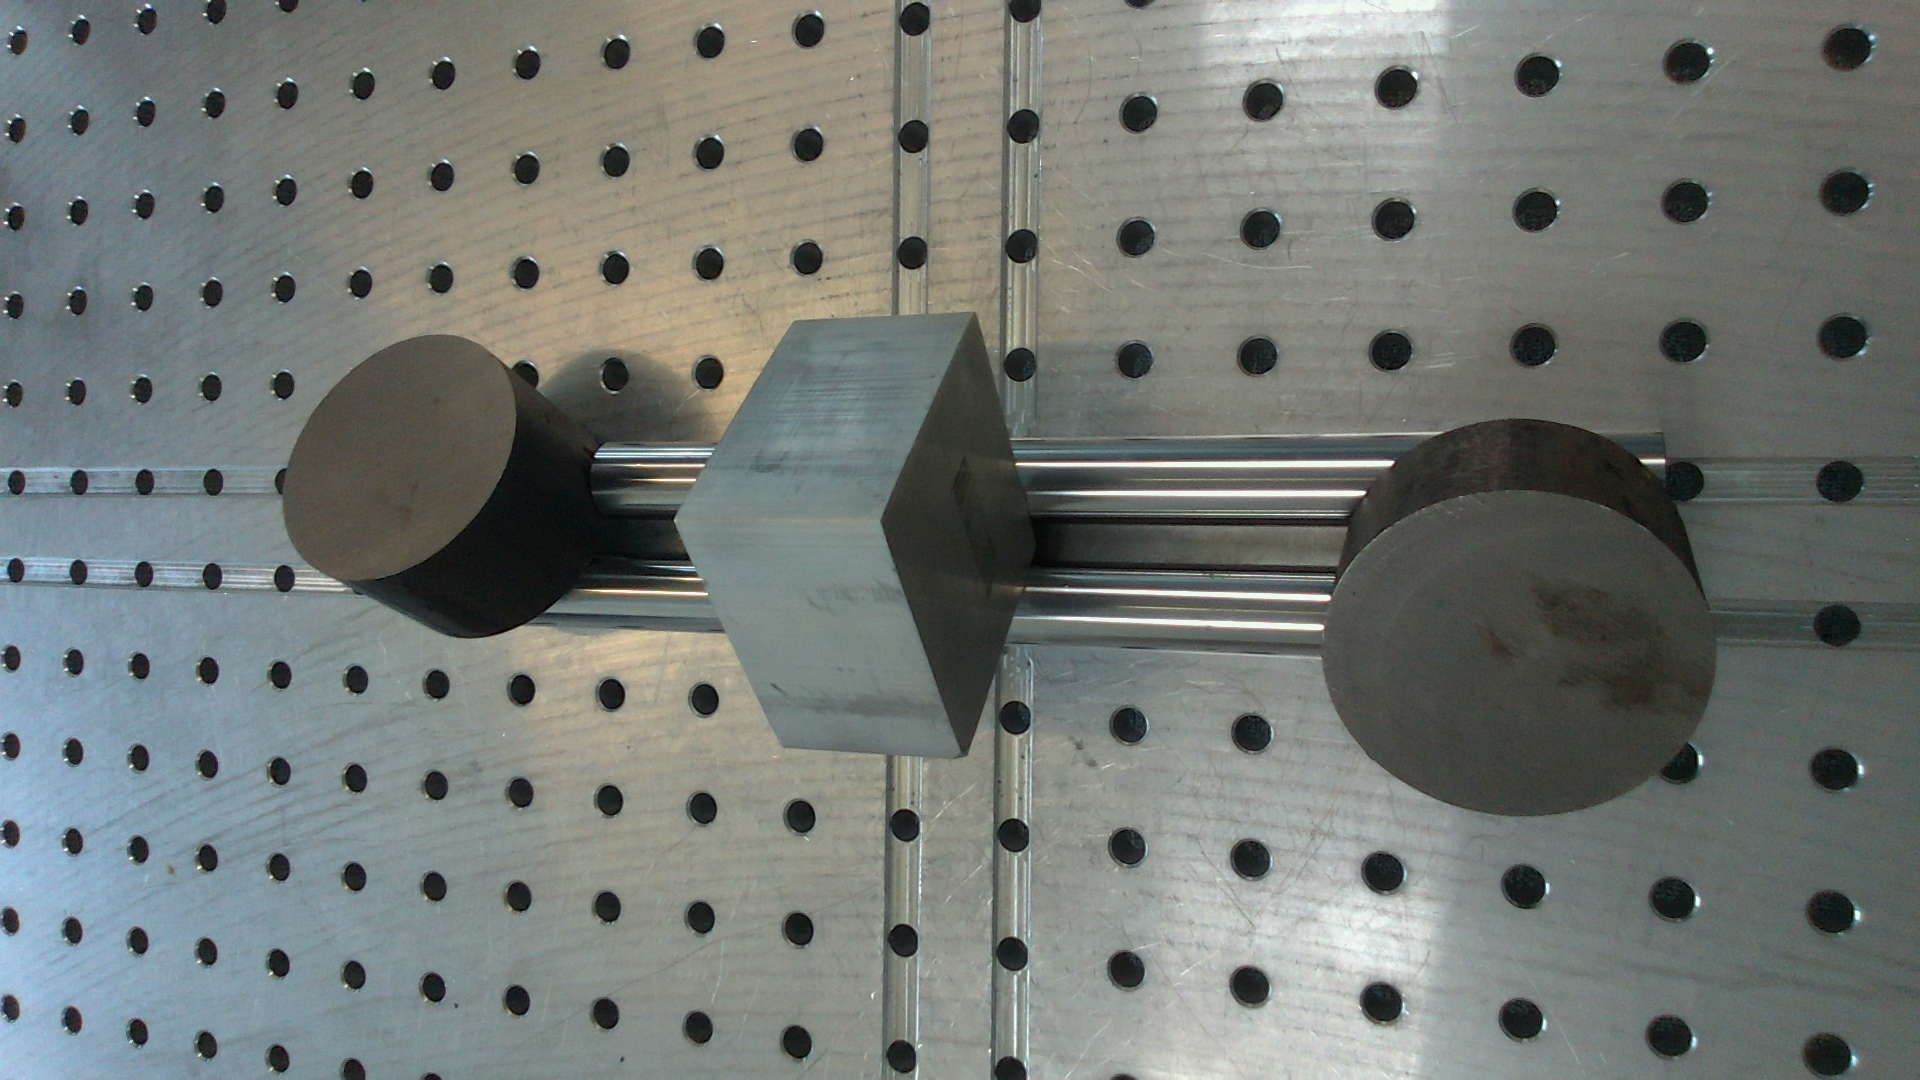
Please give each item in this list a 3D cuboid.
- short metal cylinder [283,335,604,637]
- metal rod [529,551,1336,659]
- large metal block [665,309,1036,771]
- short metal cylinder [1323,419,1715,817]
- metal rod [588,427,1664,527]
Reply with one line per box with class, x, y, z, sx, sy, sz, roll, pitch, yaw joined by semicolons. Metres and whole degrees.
short metal cylinder;-0.158;-0.016;0.427;0.080;0.050;0.080;-7;65;16
metal rod;-0.040;0.017;0.412;0.299;0.025;0.025;1;90;20
large metal block;-0.021;-0.001;0.345;0.050;0.080;0.080;1;132;20
short metal cylinder;0.129;0.017;0.324;0.080;0.050;0.080;8;115;17
metal rod;0.030;-0.017;0.387;0.299;0.025;0.025;1;90;20
